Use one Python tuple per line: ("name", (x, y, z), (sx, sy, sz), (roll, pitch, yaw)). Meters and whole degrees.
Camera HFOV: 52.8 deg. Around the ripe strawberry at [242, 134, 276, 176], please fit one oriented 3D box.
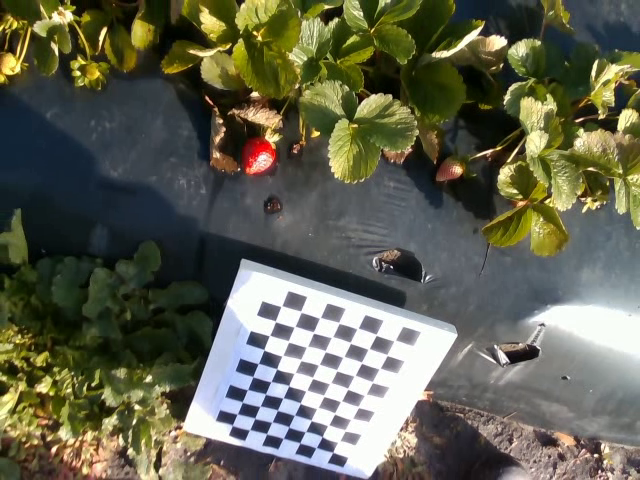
("ripe strawberry", (-0.066, -0.077, 0.628), (0.046, 0.054, 0.037), (37, -22, -18))
